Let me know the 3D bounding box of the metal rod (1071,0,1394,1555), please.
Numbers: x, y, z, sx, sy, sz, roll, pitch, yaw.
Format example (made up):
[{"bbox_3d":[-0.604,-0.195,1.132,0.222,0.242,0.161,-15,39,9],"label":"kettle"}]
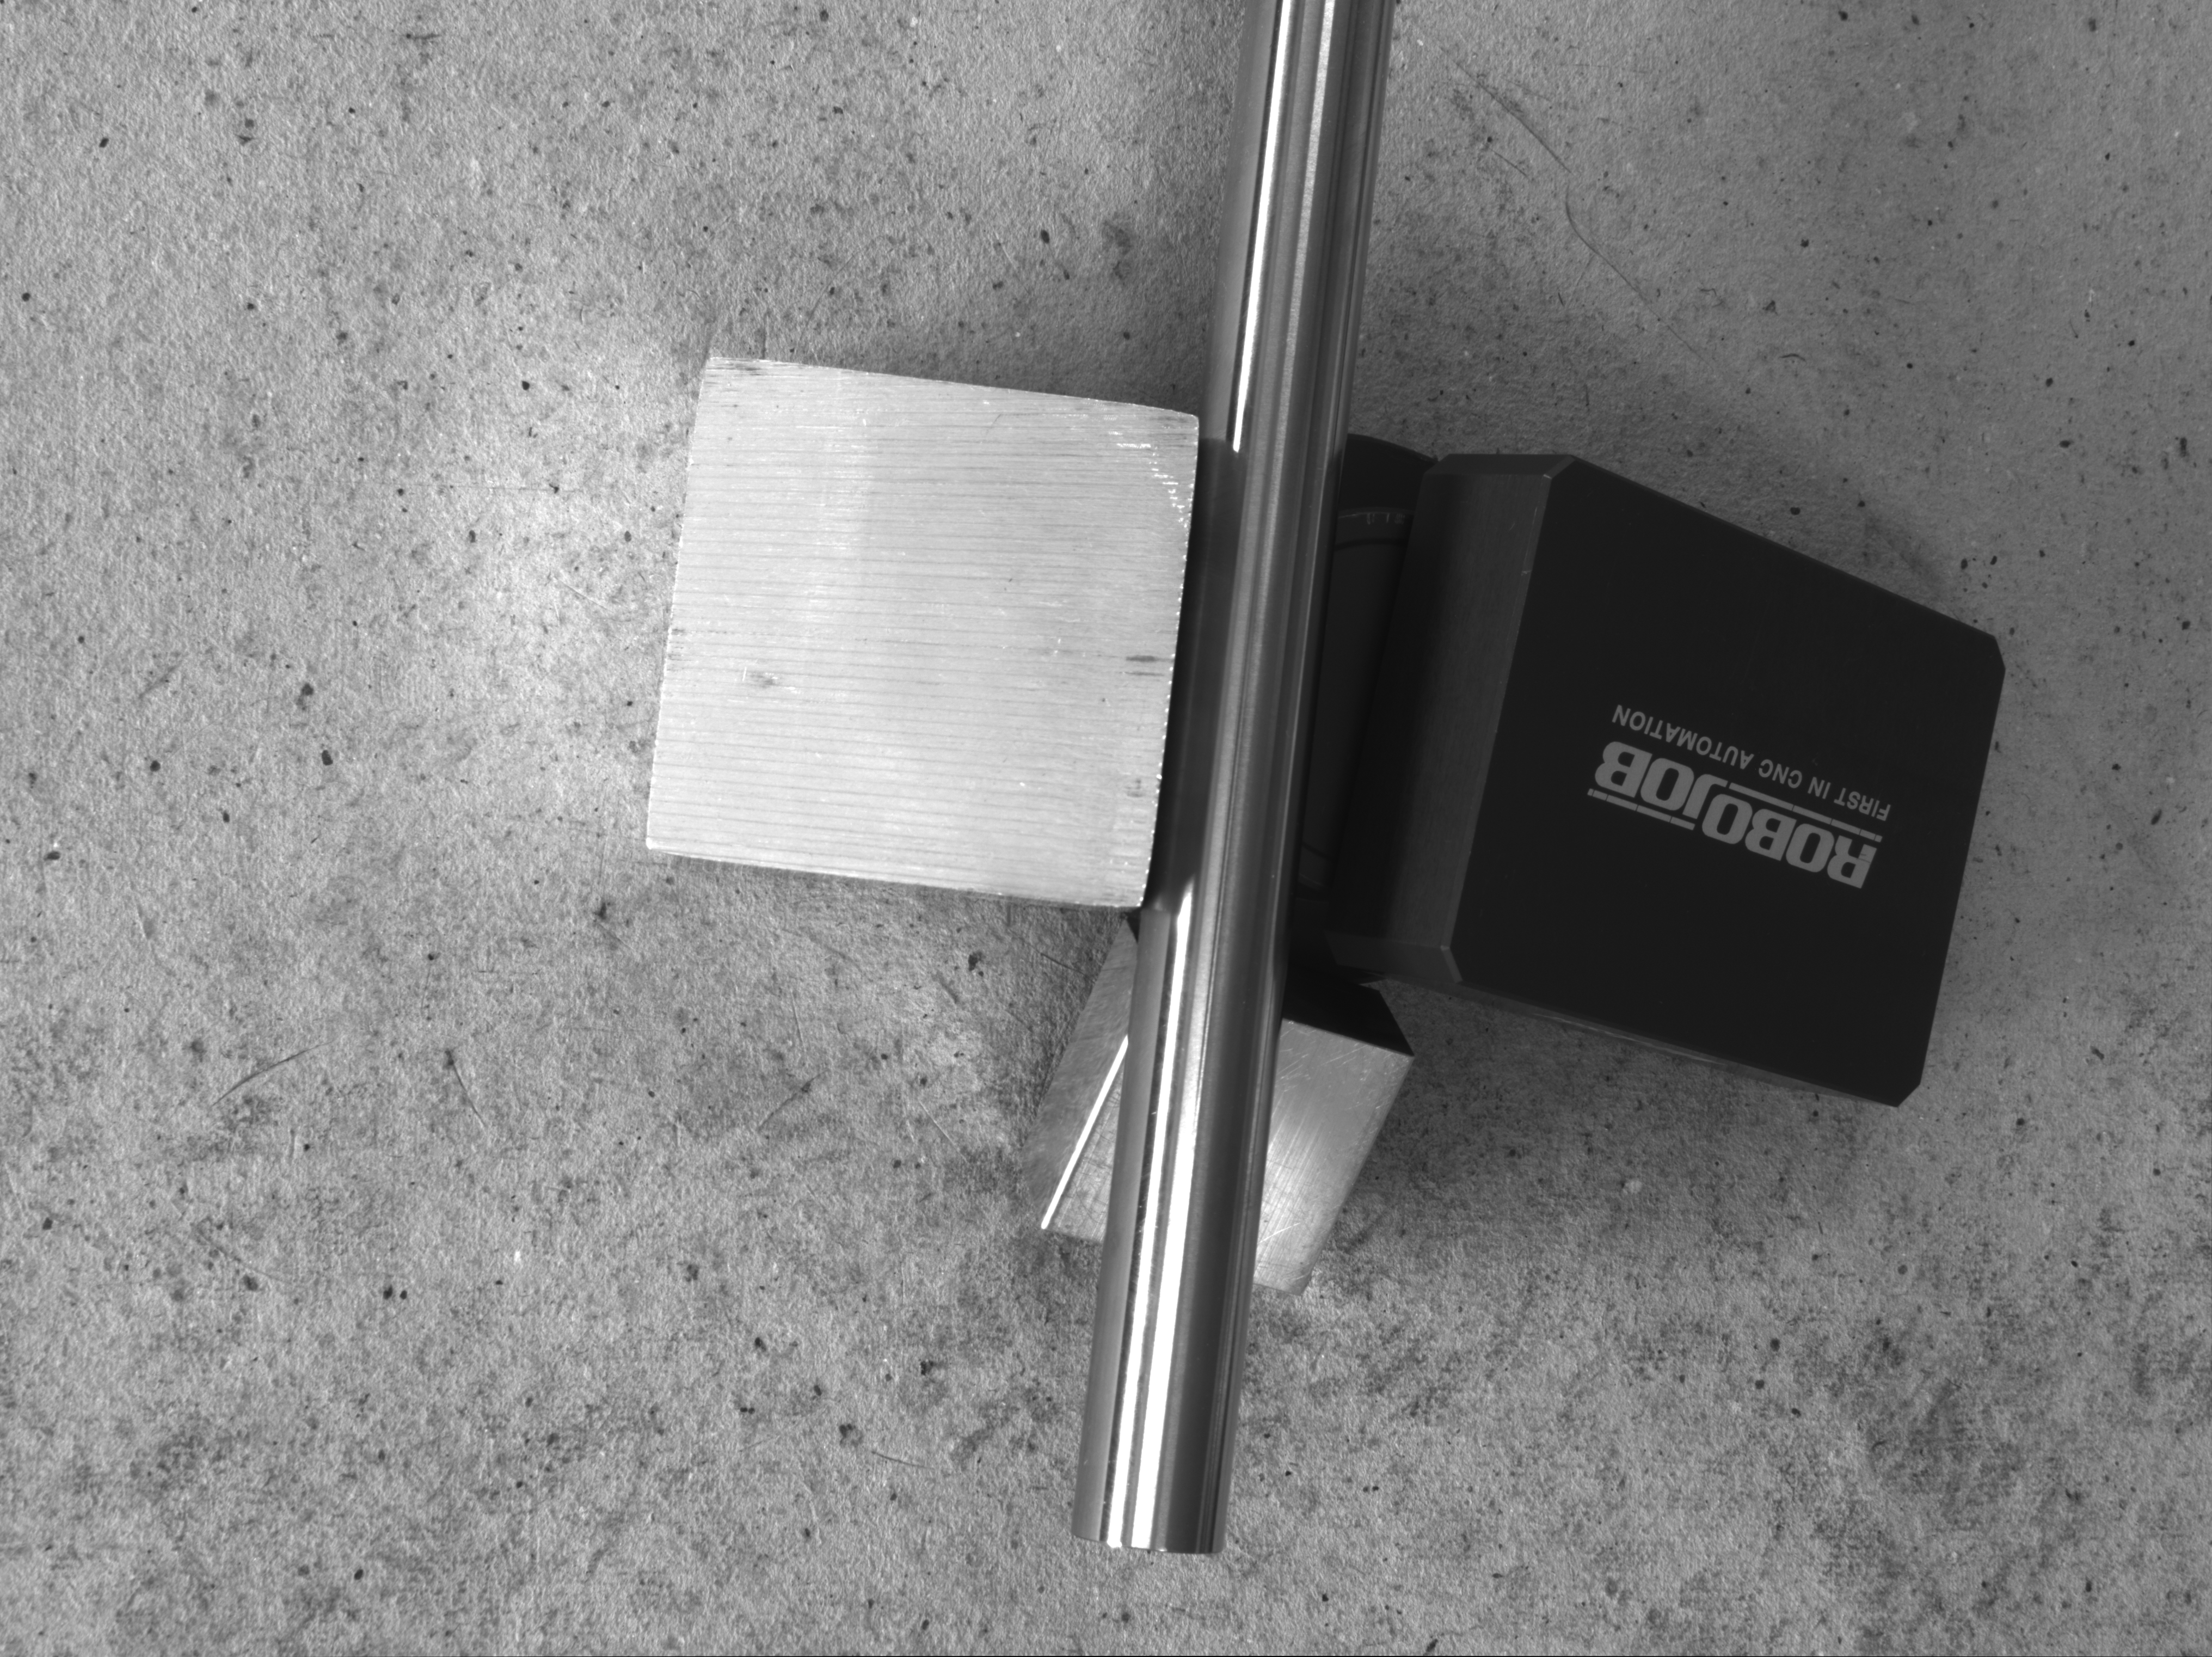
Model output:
[{"bbox_3d":[0.024,-0.033,0.608,0.025,0.025,0.300,8,85,-20],"label":"metal rod"}]

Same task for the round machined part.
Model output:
[{"bbox_3d":[0.041,-0.021,0.649,0.098,0.042,0.098,0,90,-20],"label":"round machined part"}]

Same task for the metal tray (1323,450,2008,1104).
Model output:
[{"bbox_3d":[0.103,-0.007,0.655,0.130,0.030,0.090,16,85,-39],"label":"metal tray"}]

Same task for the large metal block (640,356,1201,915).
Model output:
[{"bbox_3d":[-0.030,-0.030,0.608,0.080,0.050,0.080,7,87,-2],"label":"large metal block"}]

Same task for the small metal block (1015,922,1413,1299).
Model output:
[{"bbox_3d":[0.018,0.049,0.640,0.050,0.025,0.050,17,110,-18],"label":"small metal block"}]
